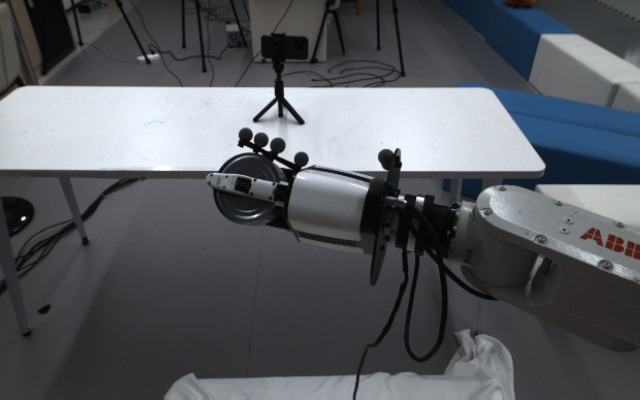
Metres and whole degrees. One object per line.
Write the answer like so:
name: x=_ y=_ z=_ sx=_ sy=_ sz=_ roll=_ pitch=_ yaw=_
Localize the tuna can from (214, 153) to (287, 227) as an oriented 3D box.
tuna can: x=-0.080 y=-0.013 z=0.583 sx=0.085 sy=0.085 sz=0.034 roll=13 pitch=-5 yaw=16
